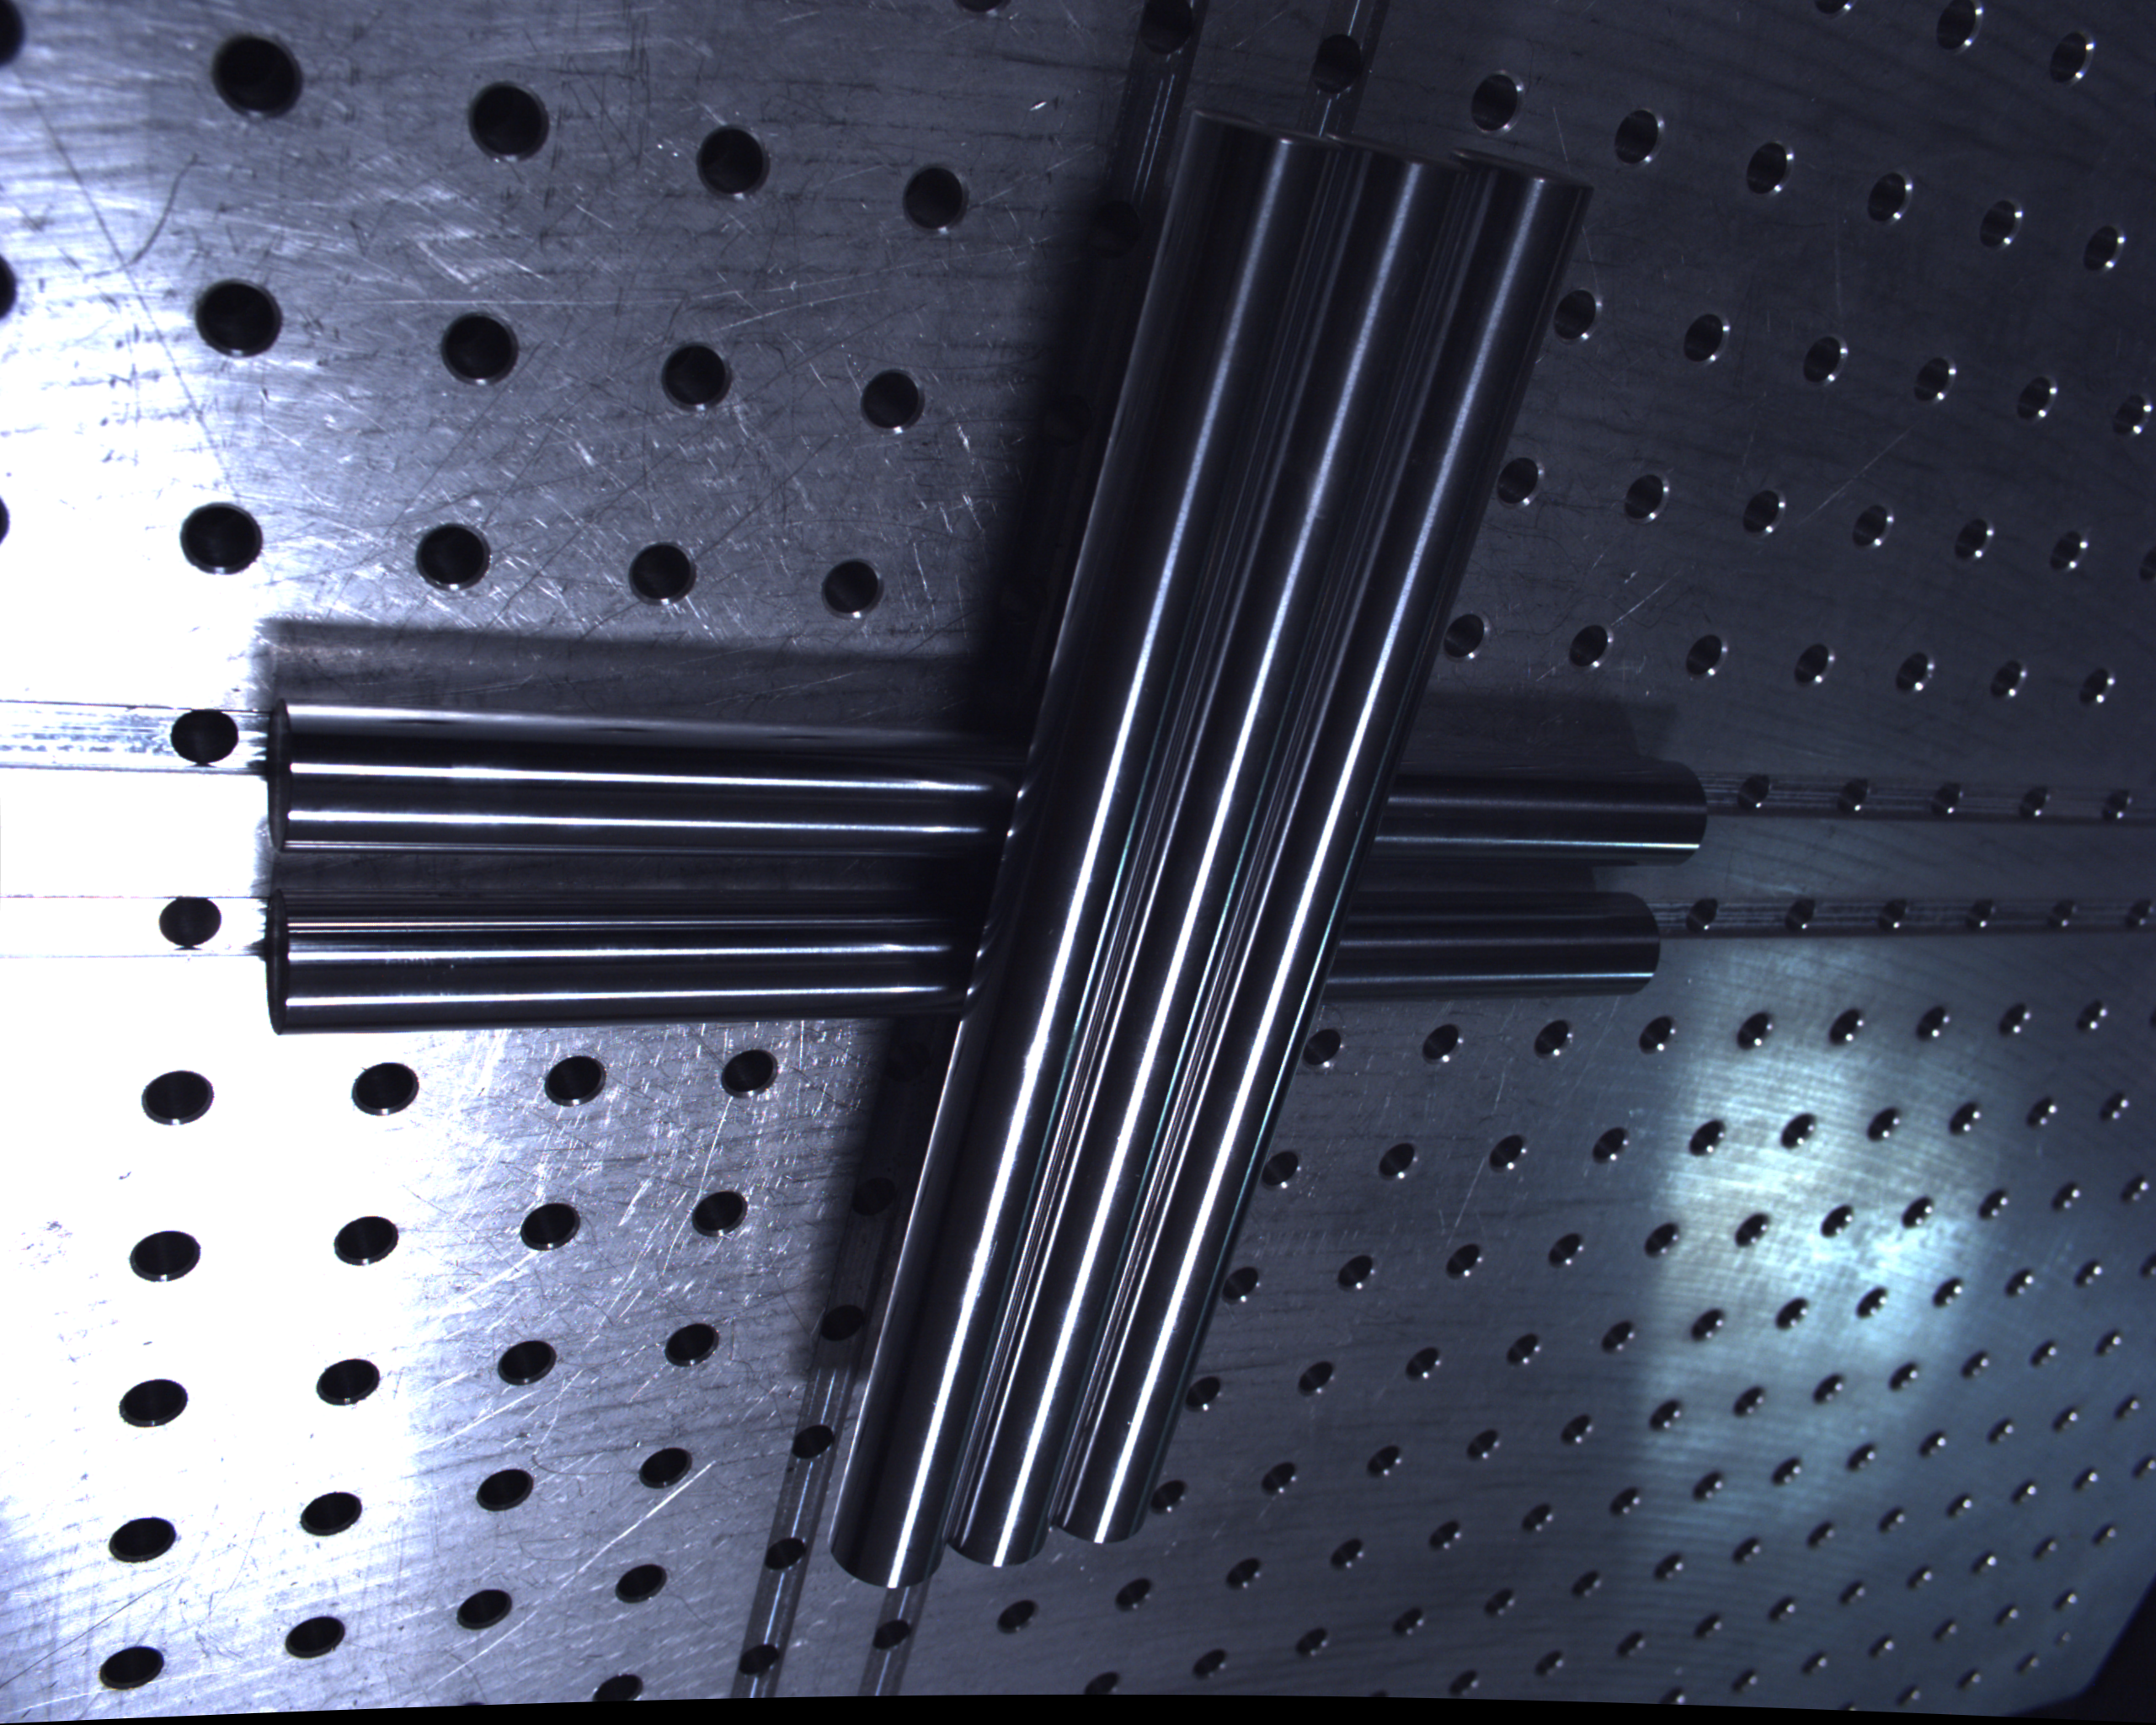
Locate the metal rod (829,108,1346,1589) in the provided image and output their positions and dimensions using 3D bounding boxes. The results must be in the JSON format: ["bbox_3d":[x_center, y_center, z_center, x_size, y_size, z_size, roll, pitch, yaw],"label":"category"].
[{"bbox_3d":[-0.006,0.016,0.387,0.025,0.025,0.298,1,118,-29],"label":"metal rod"}]

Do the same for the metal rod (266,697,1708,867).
[{"bbox_3d":[0.004,-0.013,0.407,0.303,0.025,0.025,1,118,-29],"label":"metal rod"}]

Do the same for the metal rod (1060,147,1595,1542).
[{"bbox_3d":[0.039,0.014,0.411,0.025,0.025,0.298,1,118,-29],"label":"metal rod"}]

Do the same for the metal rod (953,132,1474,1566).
[{"bbox_3d":[0.017,0.016,0.400,0.025,0.025,0.298,1,118,-29],"label":"metal rod"}]

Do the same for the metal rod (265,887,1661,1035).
[{"bbox_3d":[-0.002,0.018,0.423,0.303,0.025,0.025,1,118,-29],"label":"metal rod"}]
